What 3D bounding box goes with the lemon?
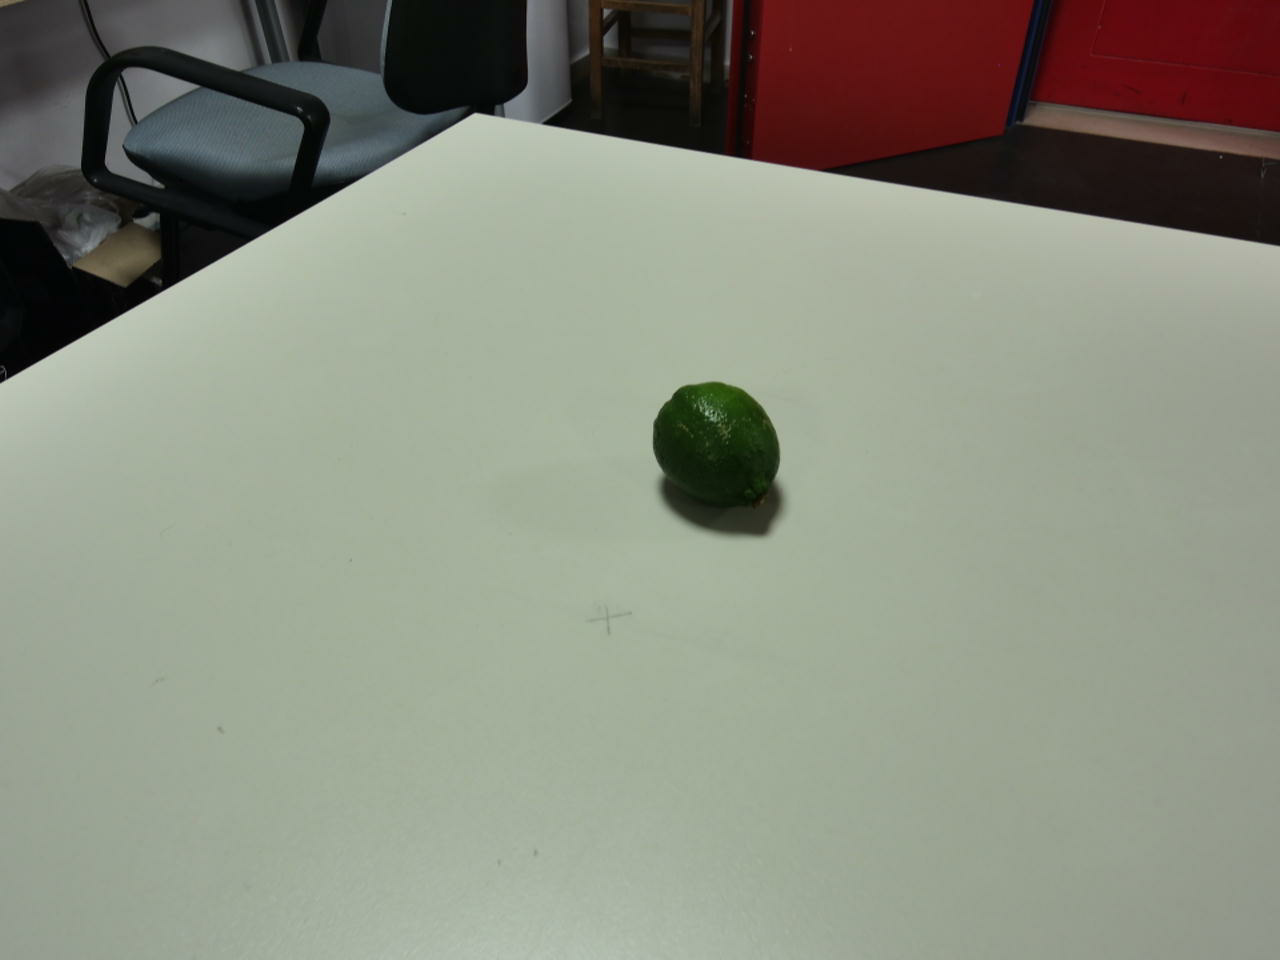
[{"bbox_3d":[0.033,-0.017,0.435,0.057,0.051,0.054,14,40,18],"label":"lemon"}]
